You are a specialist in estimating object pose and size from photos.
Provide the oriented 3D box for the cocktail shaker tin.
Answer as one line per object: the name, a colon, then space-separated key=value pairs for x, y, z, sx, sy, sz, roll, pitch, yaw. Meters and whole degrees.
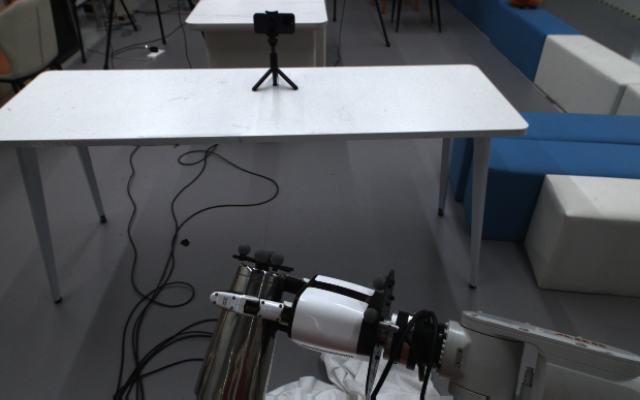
cocktail shaker tin: x=-0.097 y=0.174 z=0.636 sx=0.093 sy=0.170 sz=0.093 roll=15 pitch=-5 yaw=1
